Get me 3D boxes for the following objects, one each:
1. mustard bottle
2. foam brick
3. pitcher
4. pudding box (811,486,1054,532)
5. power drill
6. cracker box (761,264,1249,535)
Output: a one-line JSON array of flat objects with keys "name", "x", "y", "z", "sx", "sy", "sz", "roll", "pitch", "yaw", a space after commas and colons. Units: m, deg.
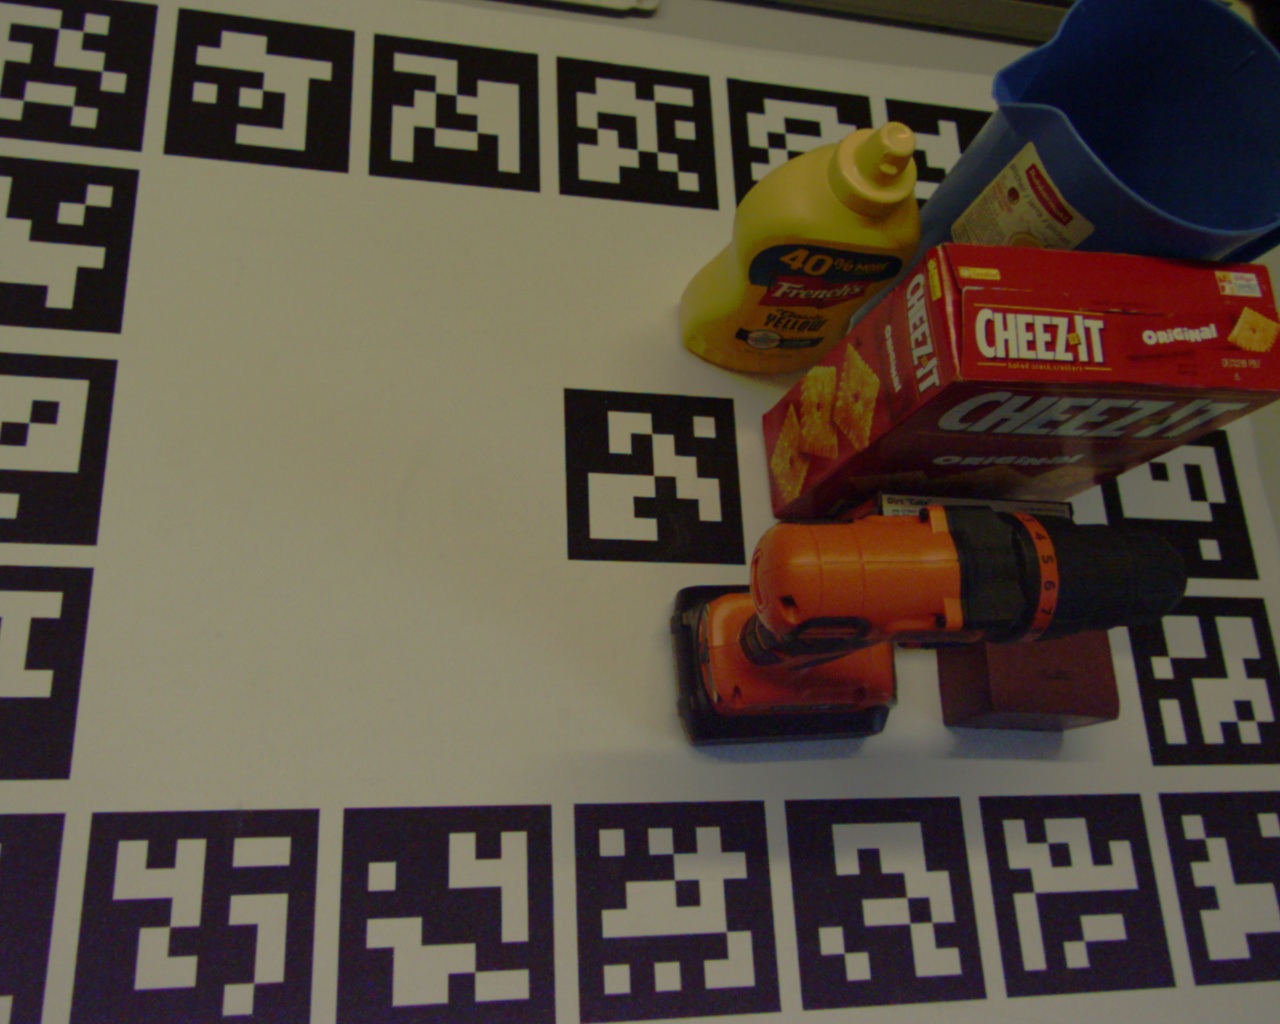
[{"name": "mustard bottle", "x": 0.085, "y": -0.144, "z": 0.622, "sx": 0.096, "sy": 0.192, "sz": 0.058, "roll": 14, "pitch": 71, "yaw": -10}, {"name": "foam brick", "x": 0.209, "y": 0.087, "z": 0.664, "sx": 0.077, "sy": 0.051, "sz": 0.053, "roll": 3, "pitch": 74, "yaw": -13}, {"name": "pitcher", "x": 0.216, "y": -0.145, "z": 0.642, "sx": 0.188, "sy": 0.243, "sz": 0.133, "roll": 7, "pitch": 72, "yaw": -10}, {"name": "pudding box", "x": 0.158, "y": 0.016, "z": 0.640, "sx": 0.113, "sy": 0.090, "sz": 0.039, "roll": 1, "pitch": 71, "yaw": -11}, {"name": "power drill", "x": 0.118, "y": 0.053, "z": 0.543, "sx": 0.183, "sy": 0.188, "sz": 0.057, "roll": 0, "pitch": 70, "yaw": -15}, {"name": "cracker box", "x": 0.175, "y": -0.047, "z": 0.606, "sx": 0.163, "sy": 0.214, "sz": 0.072, "roll": -1, "pitch": 72, "yaw": -12}]
